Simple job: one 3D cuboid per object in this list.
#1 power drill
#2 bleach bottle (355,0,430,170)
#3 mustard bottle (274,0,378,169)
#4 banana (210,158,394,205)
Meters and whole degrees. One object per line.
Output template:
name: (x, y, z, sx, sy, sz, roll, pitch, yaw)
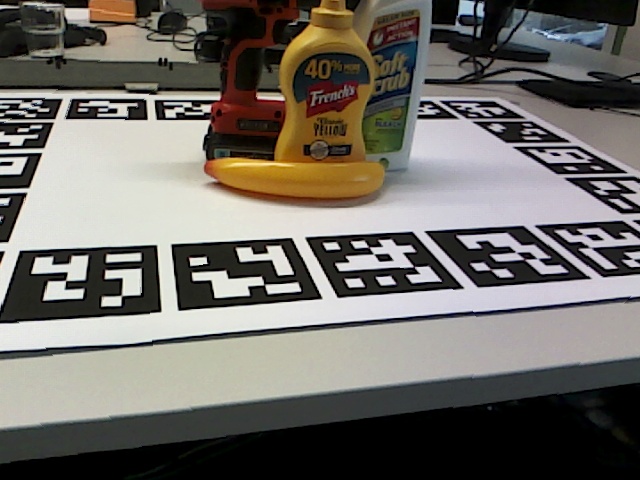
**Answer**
power drill: (-0.045, -0.203, 0.662, 0.184, 0.187, 0.057, 5, 28, -4)
bleach bottle: (0.065, -0.204, 0.674, 0.102, 0.250, 0.068, -1, 24, -11)
mustard bottle: (0.008, -0.152, 0.620, 0.096, 0.191, 0.059, -1, 30, -14)
banana: (-0.012, -0.062, 0.632, 0.197, 0.039, 0.074, -2, 31, -8)
